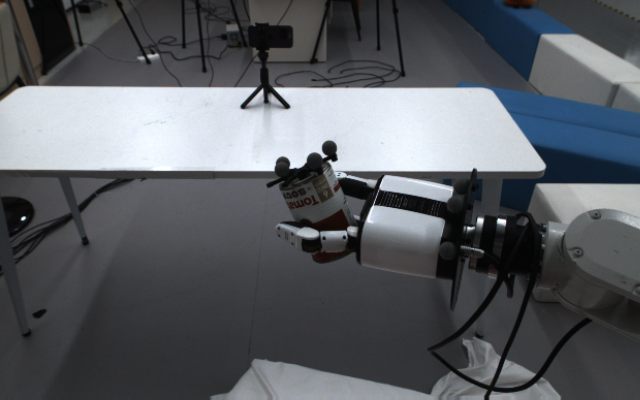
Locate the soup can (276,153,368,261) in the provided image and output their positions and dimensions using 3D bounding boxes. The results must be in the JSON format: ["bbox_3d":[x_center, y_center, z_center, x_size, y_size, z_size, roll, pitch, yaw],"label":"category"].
[{"bbox_3d":[0.004,0.014,0.575,0.067,0.101,0.067,-23,16,7],"label":"soup can"}]
